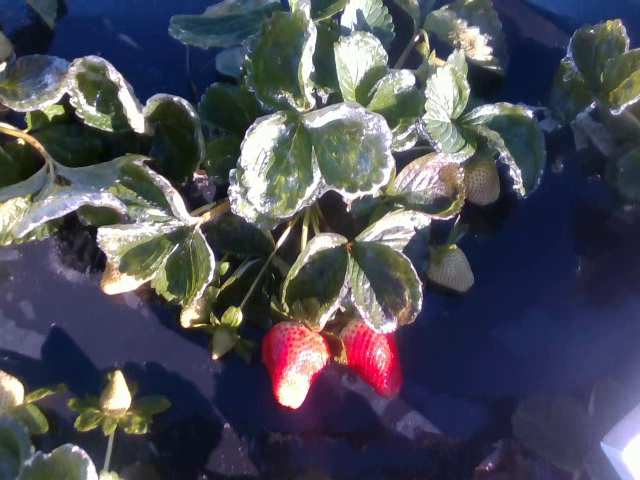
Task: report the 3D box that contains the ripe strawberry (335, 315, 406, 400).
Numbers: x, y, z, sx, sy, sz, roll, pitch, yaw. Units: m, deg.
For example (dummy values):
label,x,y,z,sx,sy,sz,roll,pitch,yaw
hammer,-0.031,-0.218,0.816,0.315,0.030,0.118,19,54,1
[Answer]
label,x,y,z,sx,sy,sz,roll,pitch,yaw
ripe strawberry,0.039,0.082,0.437,0.044,0.059,0.040,-36,2,-9

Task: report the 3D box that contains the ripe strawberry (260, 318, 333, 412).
label,x,y,z,sx,sy,sz,roll,pitch,yaw
ripe strawberry,-0.014,0.091,0.436,0.053,0.069,0.040,12,-9,-18
